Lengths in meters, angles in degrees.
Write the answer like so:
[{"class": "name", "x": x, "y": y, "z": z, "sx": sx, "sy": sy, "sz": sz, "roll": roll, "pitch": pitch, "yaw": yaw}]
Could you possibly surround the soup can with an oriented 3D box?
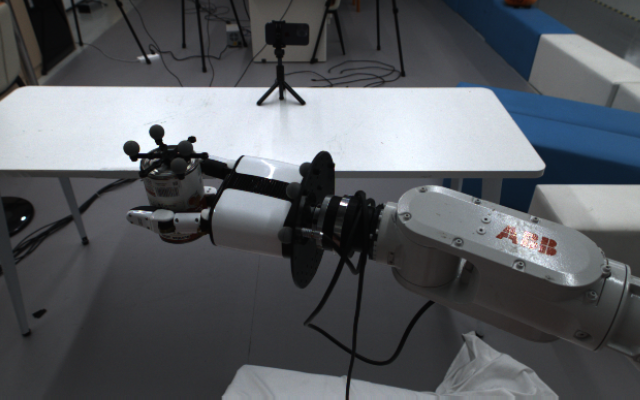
[{"class": "soup can", "x": -0.171, "y": -0.005, "z": 0.586, "sx": 0.067, "sy": 0.101, "sz": 0.067, "roll": 1, "pitch": 39, "yaw": -1}]
